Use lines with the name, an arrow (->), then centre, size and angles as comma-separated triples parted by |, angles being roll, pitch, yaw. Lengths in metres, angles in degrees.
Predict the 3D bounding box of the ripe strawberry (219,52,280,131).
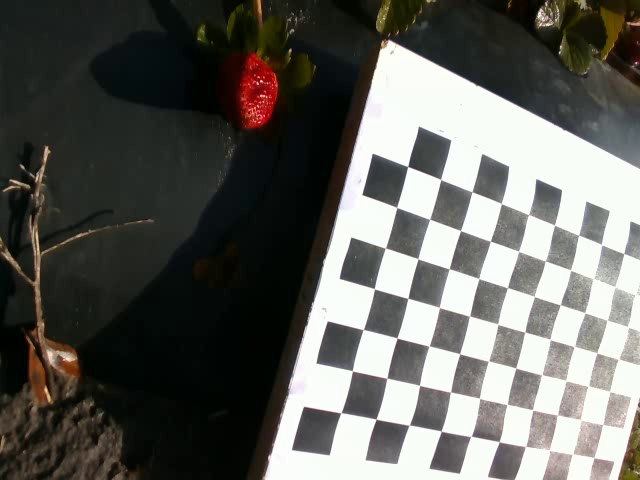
ripe strawberry -> -0.013, -0.027, 0.114 | 0.015, 0.015, 0.023 | 27, 30, -27
